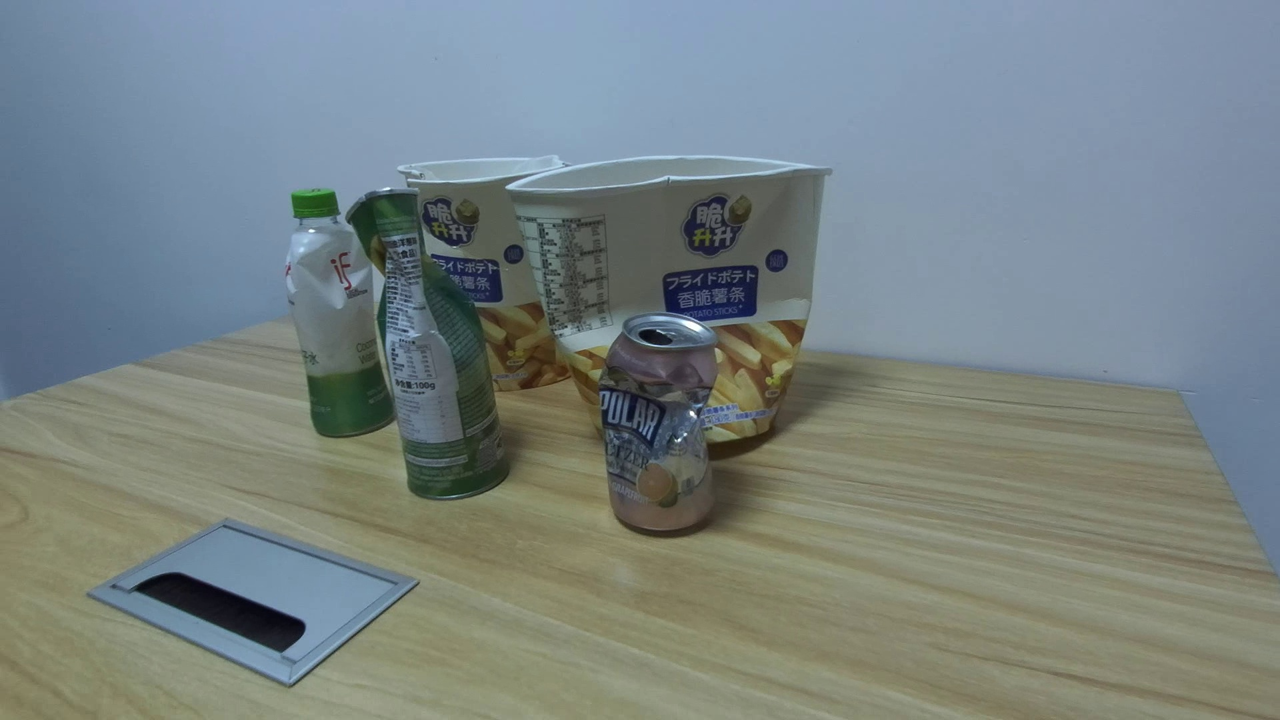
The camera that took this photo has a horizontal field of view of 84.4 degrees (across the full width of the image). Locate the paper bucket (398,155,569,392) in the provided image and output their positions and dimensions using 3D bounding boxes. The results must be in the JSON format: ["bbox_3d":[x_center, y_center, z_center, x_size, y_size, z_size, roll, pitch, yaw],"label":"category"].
[{"bbox_3d":[-0.132,-0.086,0.663,0.146,0.197,0.202,-11,22,-19],"label":"paper bucket"}]

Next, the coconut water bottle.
[{"bbox_3d":[-0.239,-0.036,0.553,0.067,0.187,0.067,-2,20,1],"label":"coconut water bottle"}]

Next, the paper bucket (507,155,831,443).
[{"bbox_3d":[0.034,-0.046,0.528,0.147,0.199,0.219,14,26,39],"label":"paper bucket"}]

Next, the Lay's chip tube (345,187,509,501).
[{"bbox_3d":[-0.141,-0.011,0.463,0.071,0.199,0.079,-4,18,17],"label":"Lay's chip tube"}]
